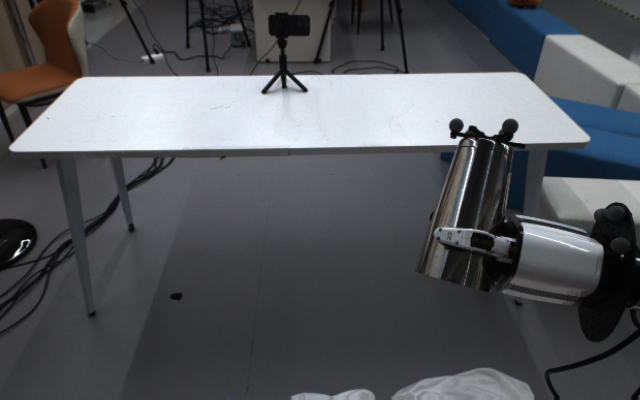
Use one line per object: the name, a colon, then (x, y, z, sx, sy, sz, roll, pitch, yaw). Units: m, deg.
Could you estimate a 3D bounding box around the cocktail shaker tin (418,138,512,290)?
cocktail shaker tin: (0.182, 0.016, 0.585, 0.093, 0.170, 0.093, 15, -4, 1)
